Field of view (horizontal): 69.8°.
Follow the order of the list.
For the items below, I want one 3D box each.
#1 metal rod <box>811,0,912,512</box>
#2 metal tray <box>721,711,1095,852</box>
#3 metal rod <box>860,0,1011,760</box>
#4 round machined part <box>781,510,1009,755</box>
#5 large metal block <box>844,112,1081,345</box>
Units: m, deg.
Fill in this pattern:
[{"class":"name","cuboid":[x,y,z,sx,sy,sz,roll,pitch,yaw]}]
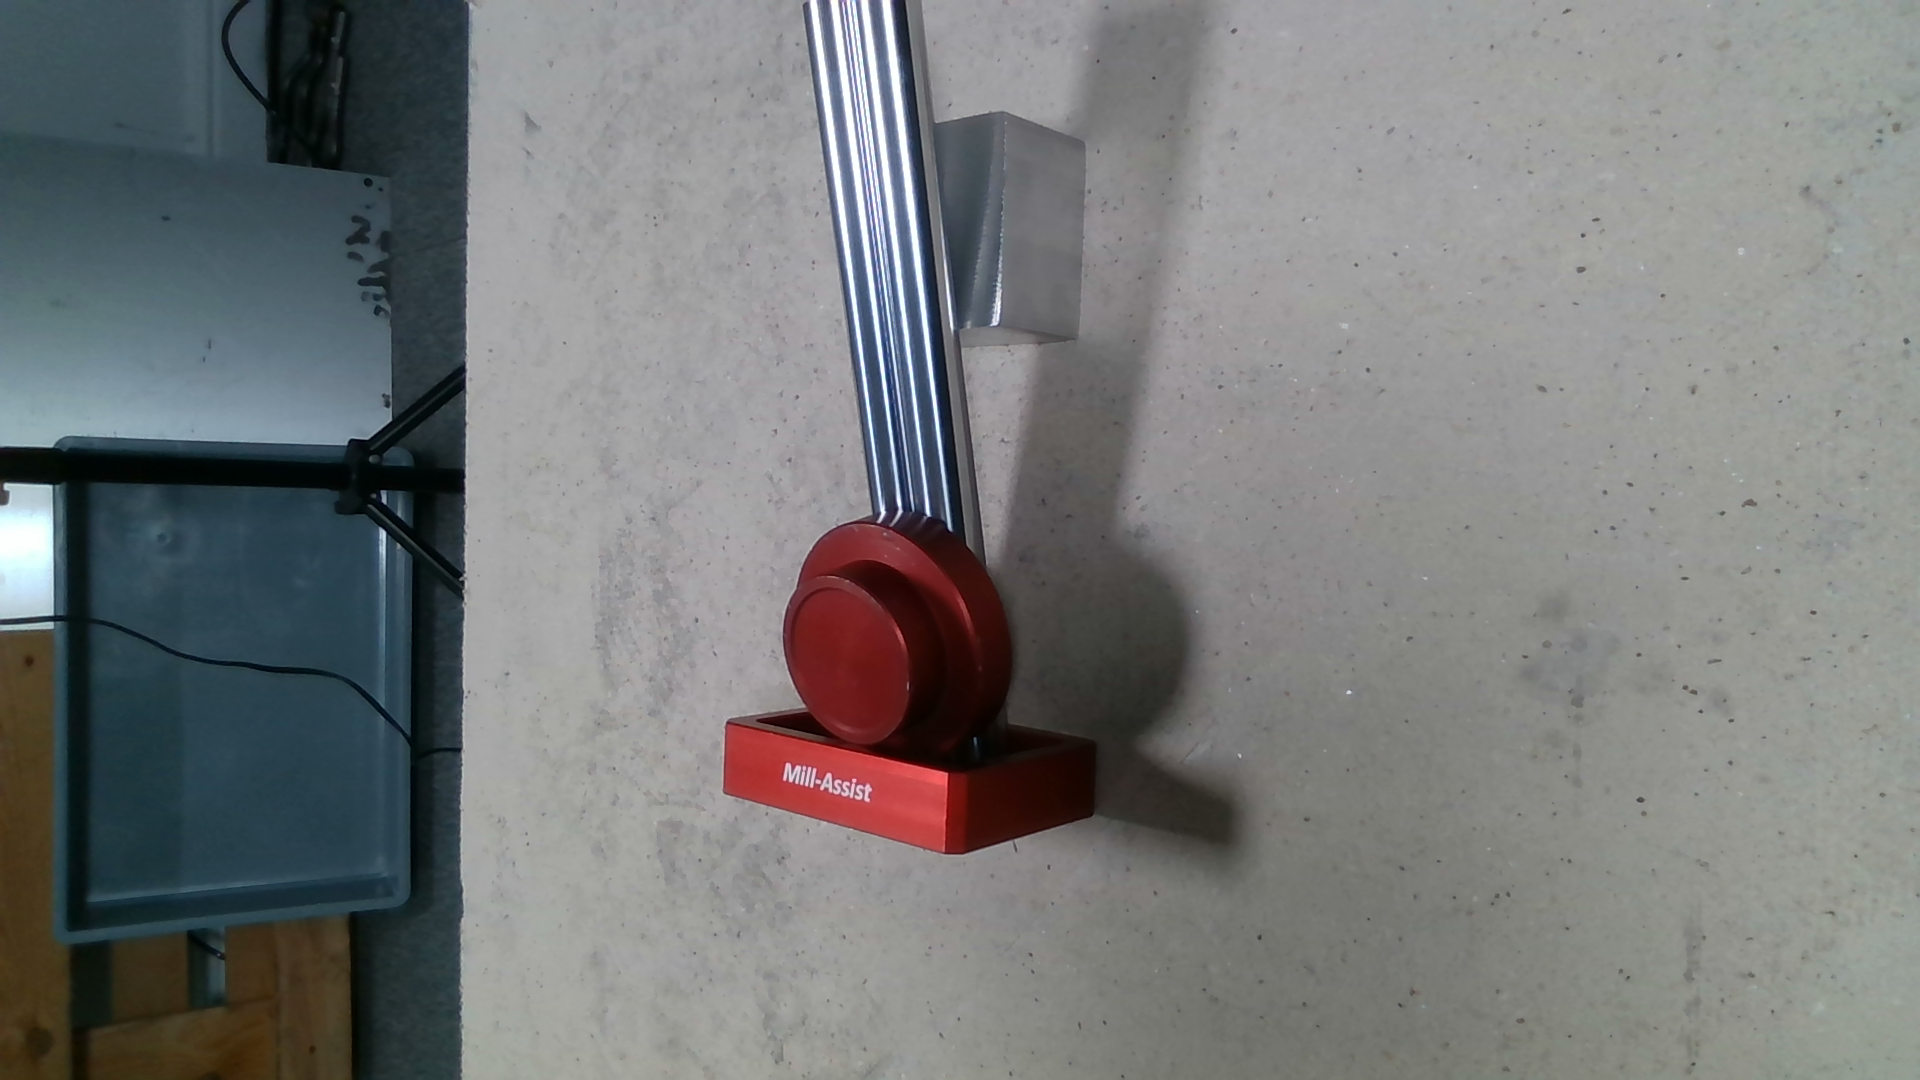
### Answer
[{"class":"metal rod","cuboid":[-0.028,-0.060,0.547,0.025,0.025,0.300,4,106,40]},{"class":"metal tray","cuboid":[-0.022,0.092,0.559,0.130,0.090,0.030,4,93,40]},{"class":"metal rod","cuboid":[-0.008,-0.058,0.529,0.025,0.025,0.300,3,105,40]},{"class":"round machined part","cuboid":[-0.032,0.040,0.534,0.098,0.042,0.098,12,109,40]},{"class":"large metal block","cuboid":[0.000,-0.122,0.559,0.080,0.050,0.080,4,93,40]}]
